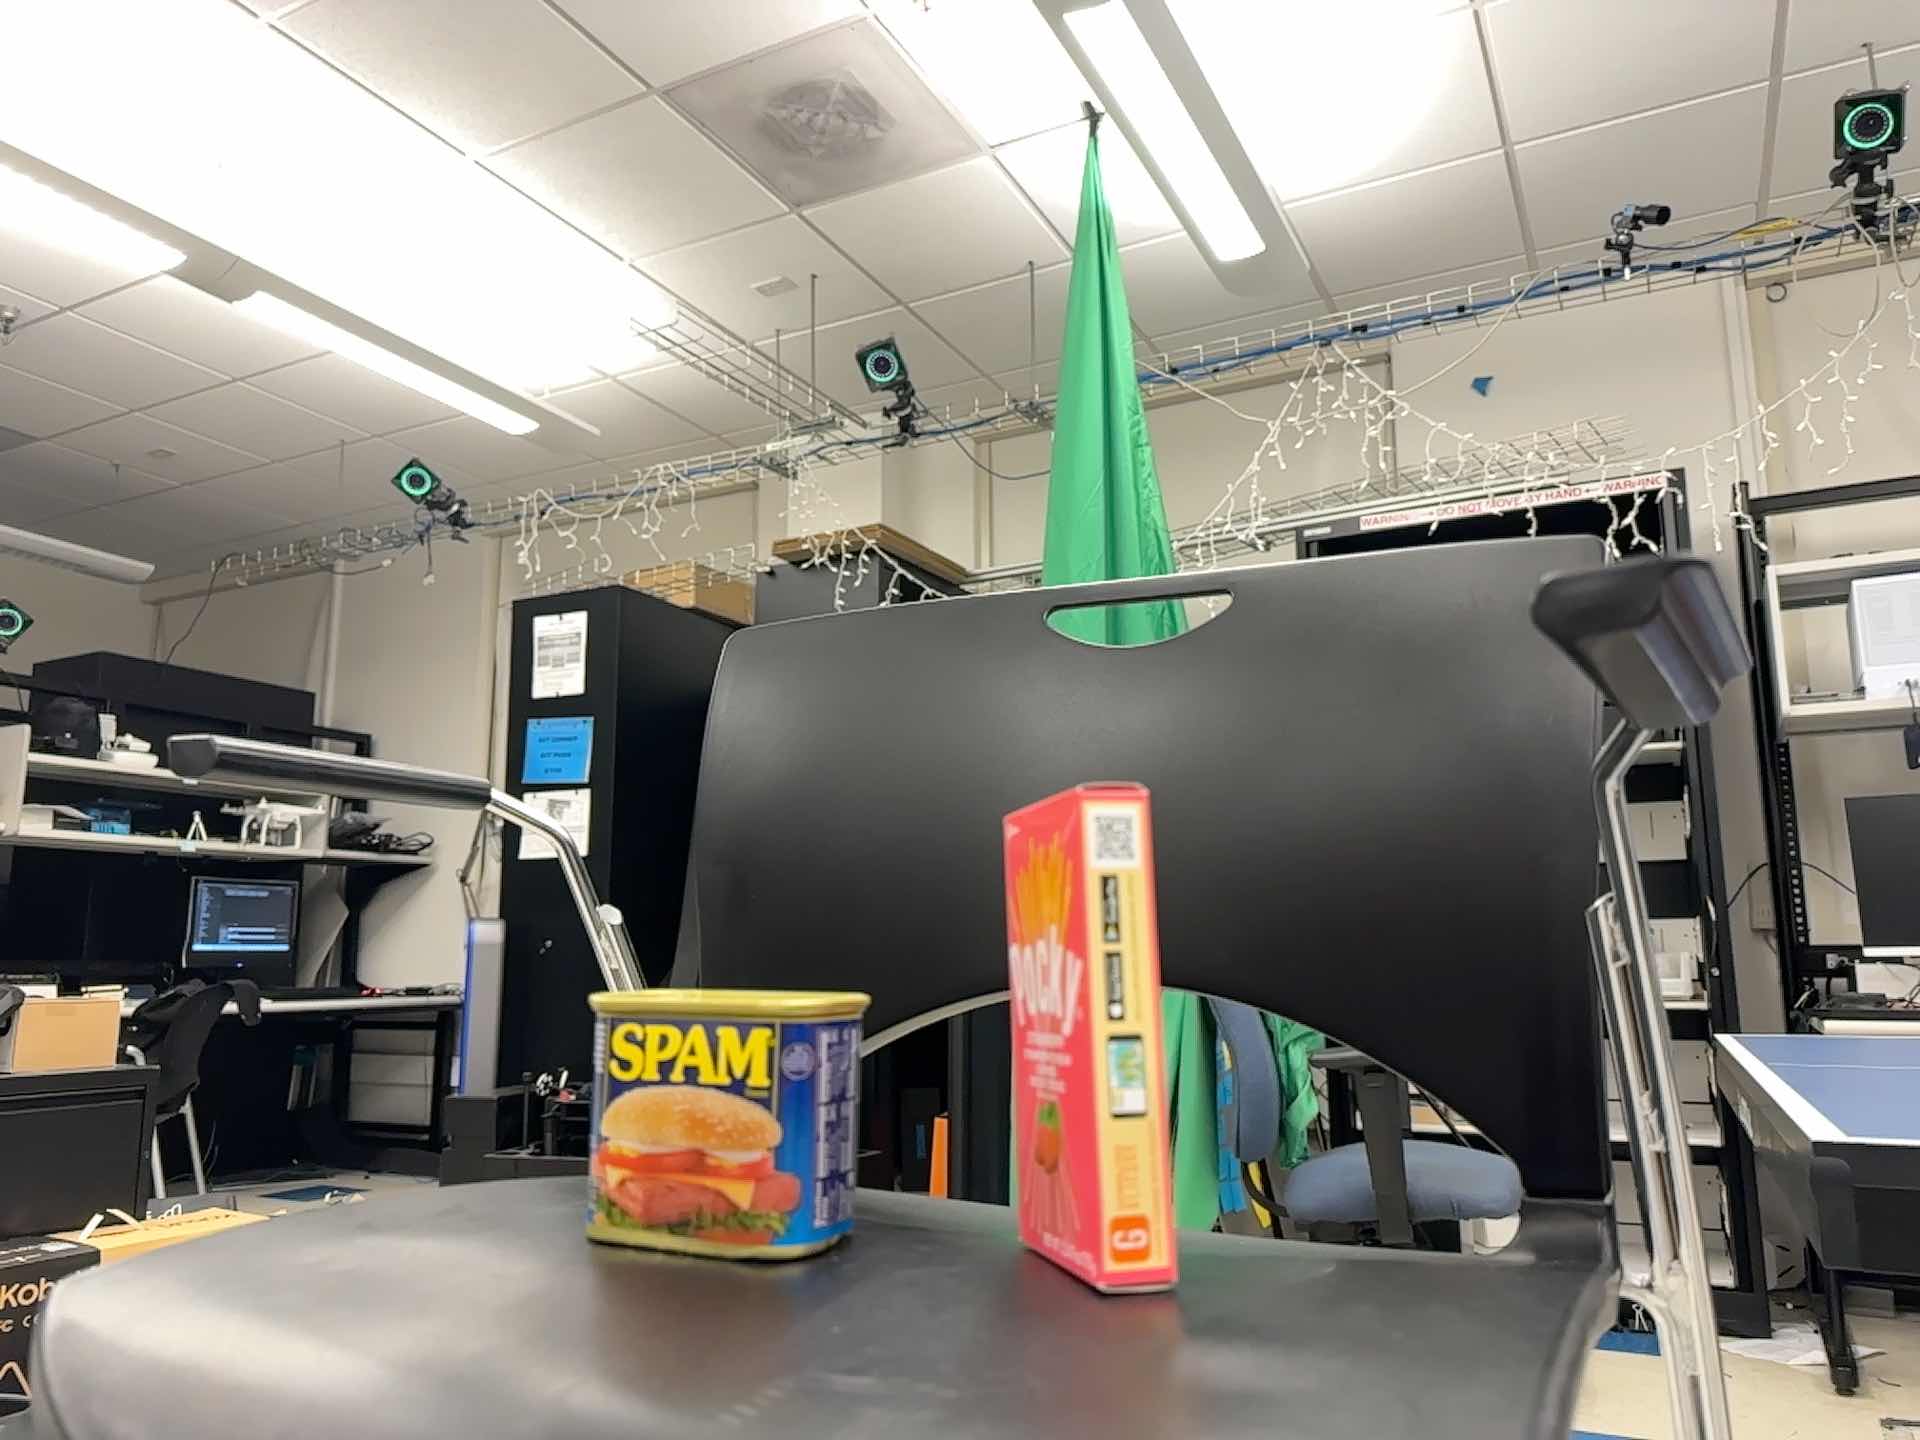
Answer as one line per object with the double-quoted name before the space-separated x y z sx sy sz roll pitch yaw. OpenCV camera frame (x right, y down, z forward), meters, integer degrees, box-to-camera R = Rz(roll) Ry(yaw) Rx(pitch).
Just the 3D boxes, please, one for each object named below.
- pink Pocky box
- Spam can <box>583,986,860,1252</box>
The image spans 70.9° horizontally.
"pink Pocky box" 0.043 0.102 0.450 0.029 0.154 0.084 1 -13 -14
"Spam can" -0.088 0.141 0.489 0.100 0.083 0.056 -5 -12 32
